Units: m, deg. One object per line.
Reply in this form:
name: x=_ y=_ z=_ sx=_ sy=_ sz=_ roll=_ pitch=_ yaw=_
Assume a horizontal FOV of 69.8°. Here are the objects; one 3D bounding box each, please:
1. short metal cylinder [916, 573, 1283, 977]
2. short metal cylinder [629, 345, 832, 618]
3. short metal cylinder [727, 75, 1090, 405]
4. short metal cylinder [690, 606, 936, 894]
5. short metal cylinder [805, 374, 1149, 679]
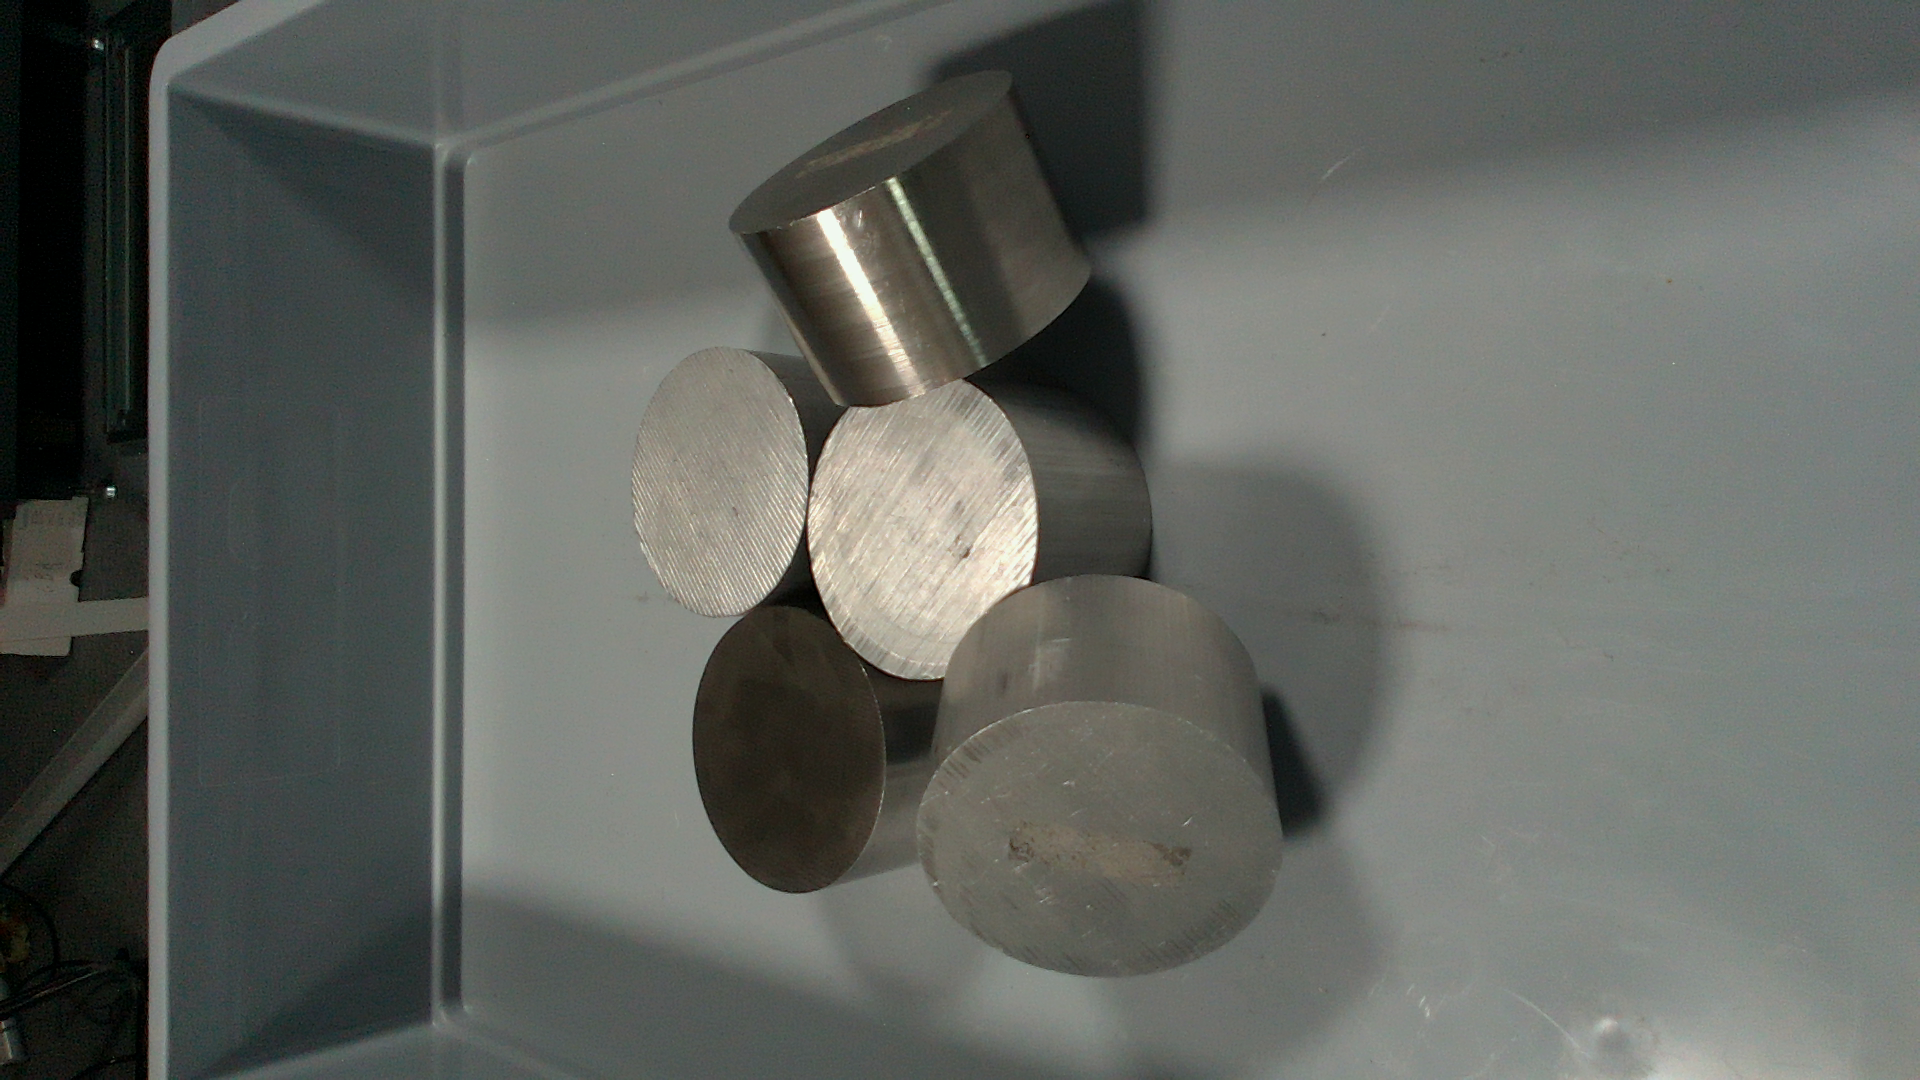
short metal cylinder: x=0.032 y=0.055 z=0.323 sx=0.080 sy=0.050 sz=0.080 roll=3 pitch=121 yaw=5
short metal cylinder: x=-0.057 y=-0.017 z=0.424 sx=0.080 sy=0.050 sz=0.080 roll=0 pitch=90 yaw=40
short metal cylinder: x=-0.013 y=-0.079 z=0.358 sx=0.080 sy=0.080 sz=0.050 roll=-4 pitch=126 yaw=40
short metal cylinder: x=-0.034 y=0.059 z=0.405 sx=0.080 sy=0.050 sz=0.080 roll=0 pitch=90 yaw=40
short metal cylinder: x=0.004 y=-0.004 z=0.373 sx=0.080 sy=0.050 sz=0.080 roll=0 pitch=90 yaw=40
